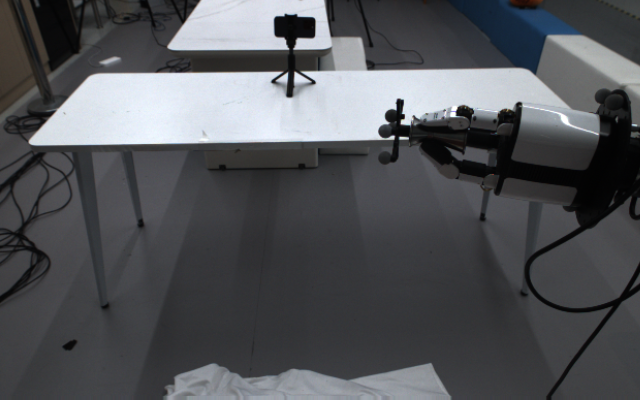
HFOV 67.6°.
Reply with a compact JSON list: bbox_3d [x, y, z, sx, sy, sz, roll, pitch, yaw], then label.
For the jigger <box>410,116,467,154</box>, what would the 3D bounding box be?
[{"bbox_3d":[0.154,-0.088,0.602,0.071,0.043,0.043,8,35,14],"label":"jigger"}]
